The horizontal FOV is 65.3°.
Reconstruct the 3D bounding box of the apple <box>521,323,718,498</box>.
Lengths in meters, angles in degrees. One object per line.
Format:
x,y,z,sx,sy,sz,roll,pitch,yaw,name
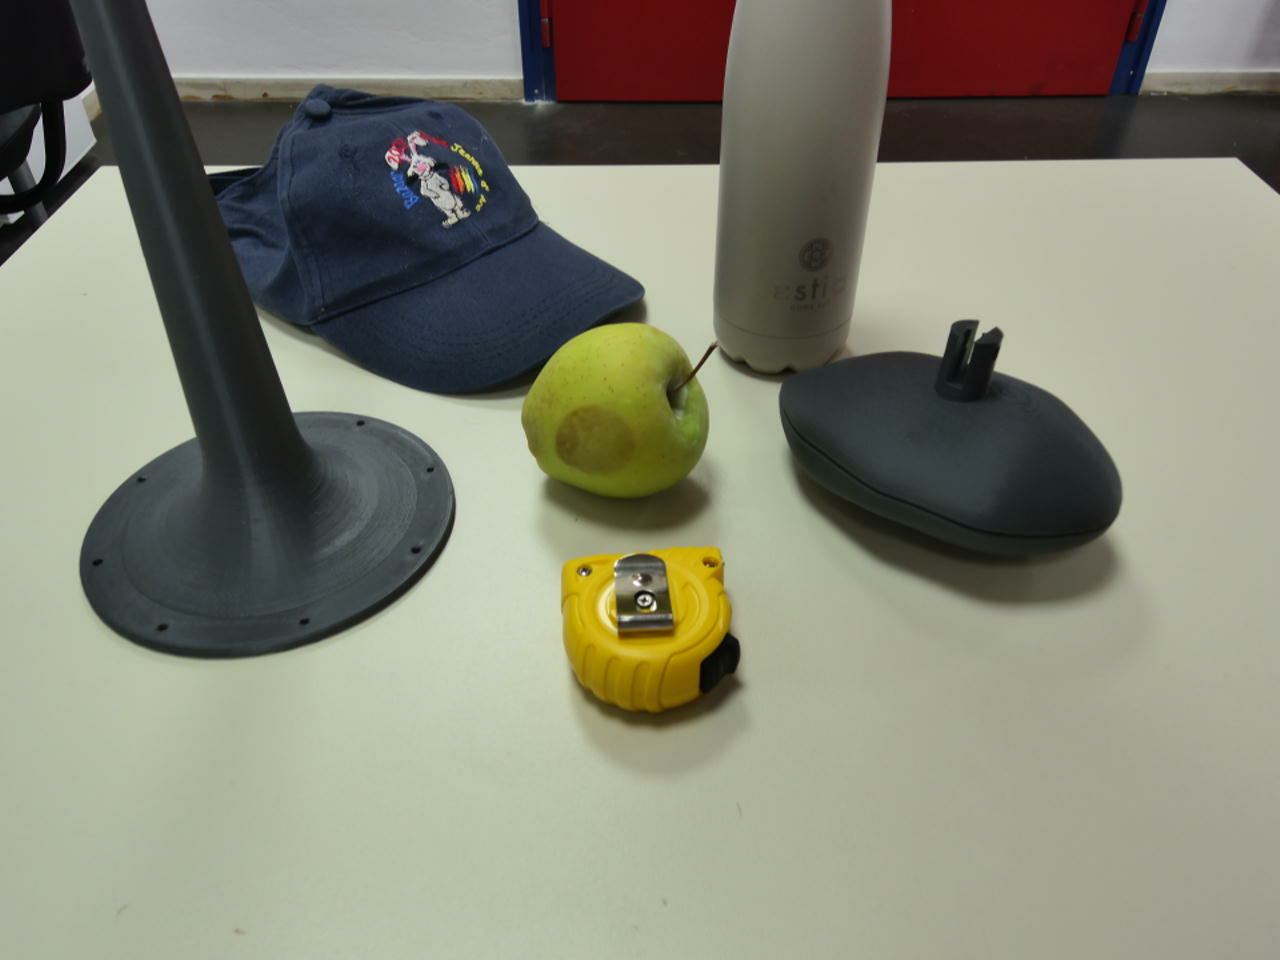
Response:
-0.009,-0.030,0.422,0.077,0.075,0.072,32,48,33,apple
